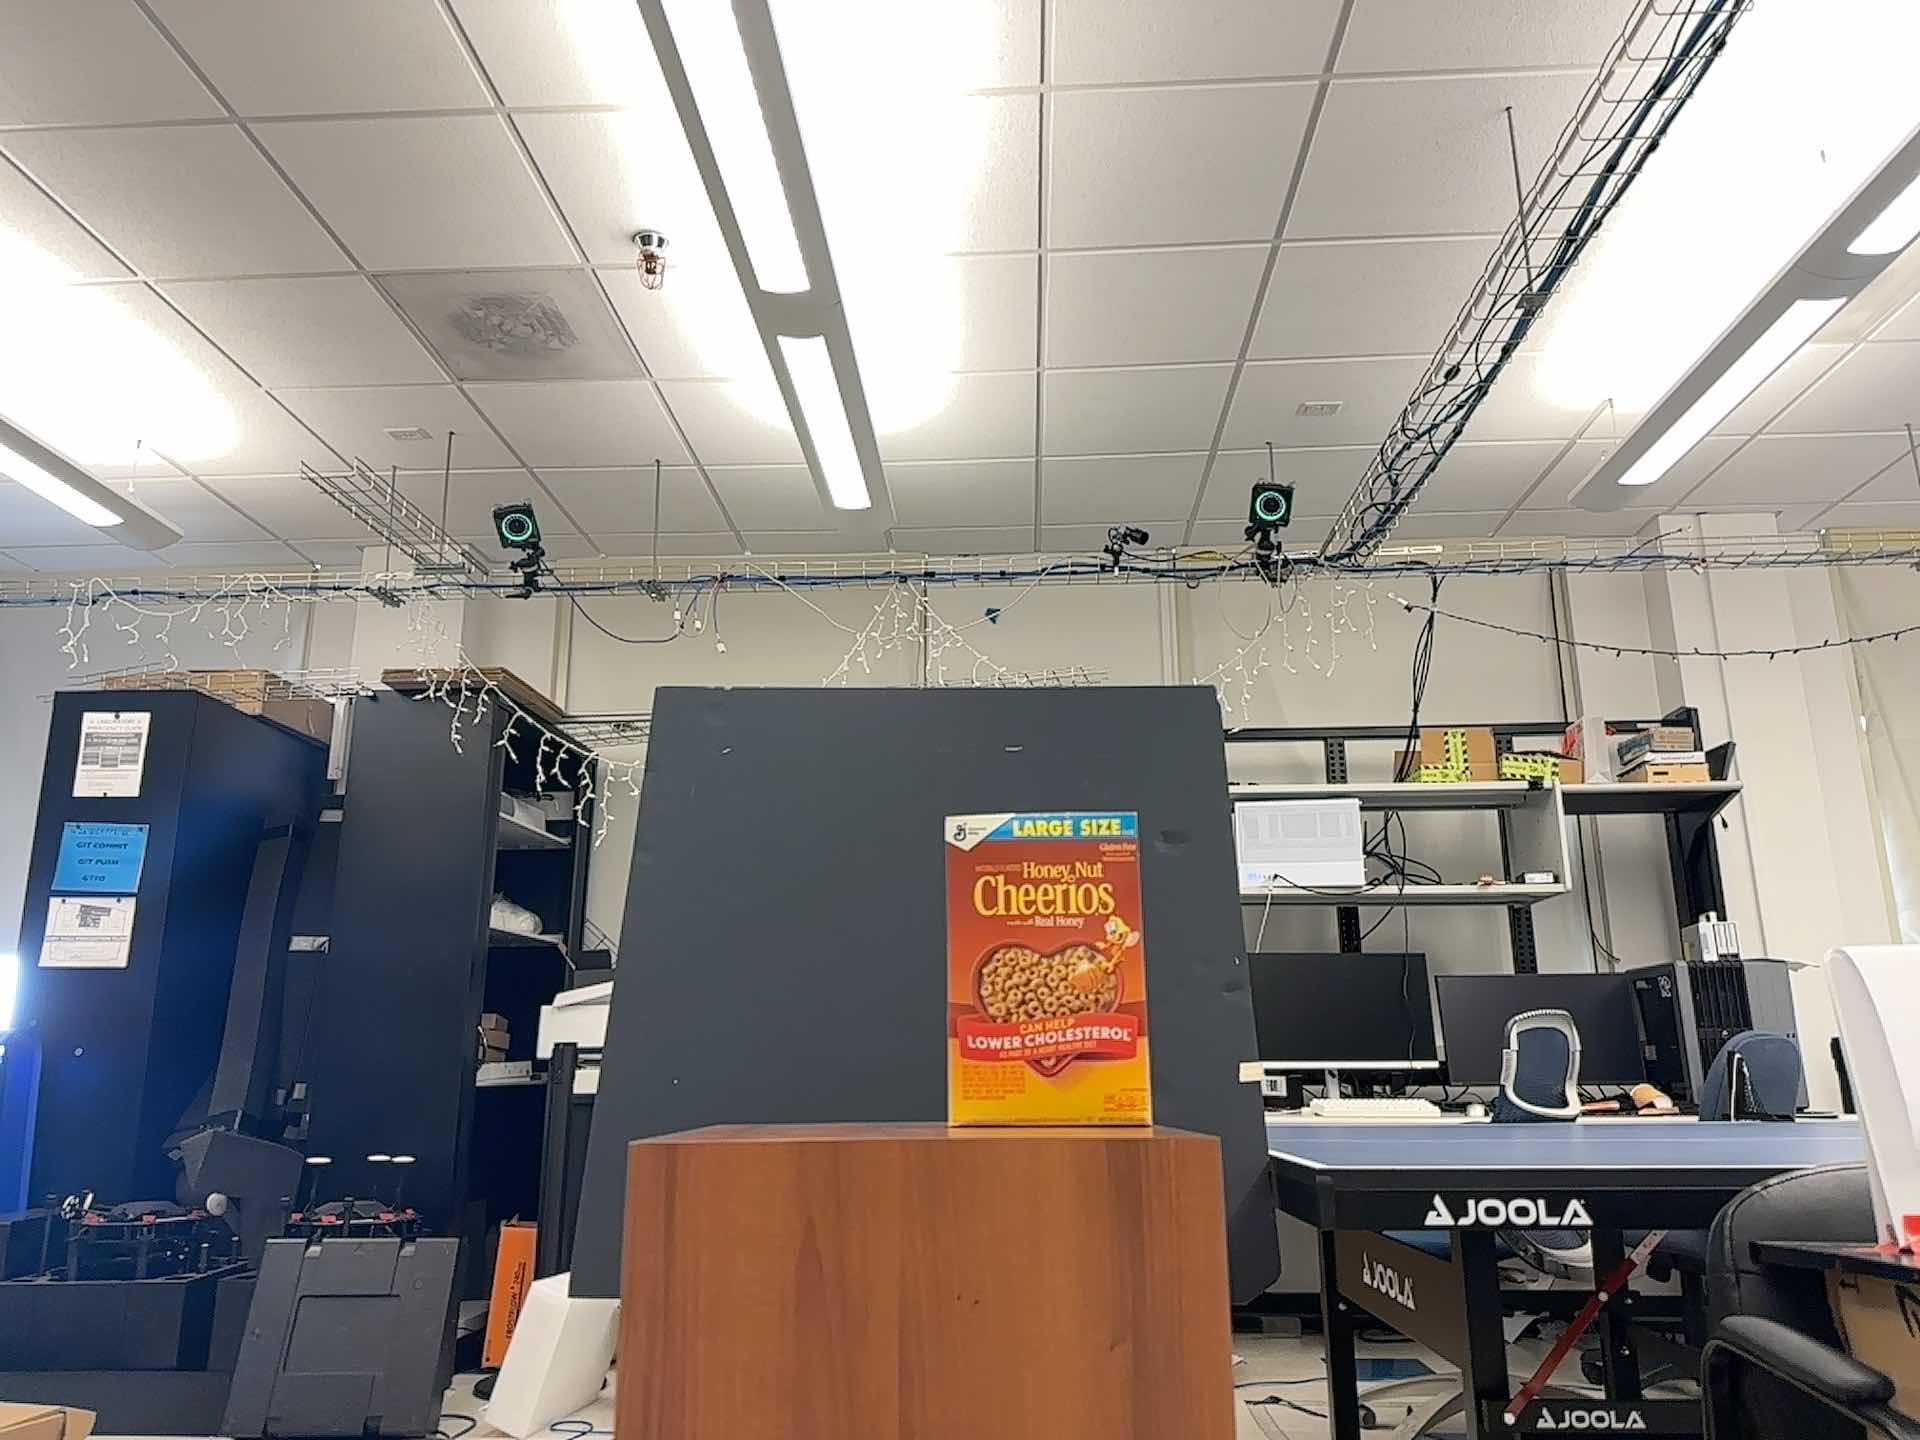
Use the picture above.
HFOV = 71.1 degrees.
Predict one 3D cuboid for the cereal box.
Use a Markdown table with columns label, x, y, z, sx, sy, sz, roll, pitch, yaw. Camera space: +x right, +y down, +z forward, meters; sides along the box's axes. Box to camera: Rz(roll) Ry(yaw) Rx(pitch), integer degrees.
| label | x | y | z | sx | sy | sz | roll | pitch | yaw |
| --- | --- | --- | --- | --- | --- | --- | --- | --- | --- |
| cereal box | 0.085 | 0.244 | 1.349 | 0.195 | 0.297 | 0.065 | -3 | -12 | 9 |
